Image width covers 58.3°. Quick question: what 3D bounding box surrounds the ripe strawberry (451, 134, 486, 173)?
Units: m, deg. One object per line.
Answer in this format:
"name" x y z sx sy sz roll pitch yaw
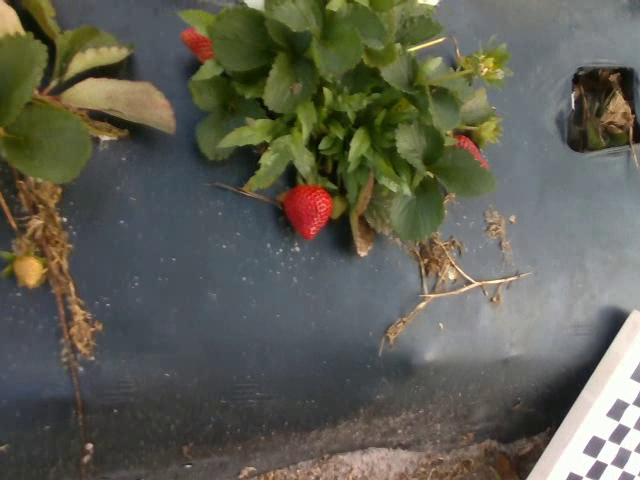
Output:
"ripe strawberry" 0.133 -0.074 0.519 0.046 0.043 0.046 26 3 8

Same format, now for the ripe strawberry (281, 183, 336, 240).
"ripe strawberry" -0.012 -0.023 0.465 0.043 0.051 0.042 9 -17 -20
